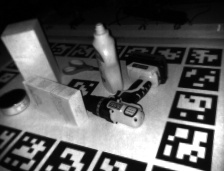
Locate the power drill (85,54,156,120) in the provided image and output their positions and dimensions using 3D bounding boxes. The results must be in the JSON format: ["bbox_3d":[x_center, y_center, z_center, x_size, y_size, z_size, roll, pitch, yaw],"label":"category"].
[{"bbox_3d":[0.021,-0.005,0.584,0.182,0.058,0.187,17,57,32],"label":"power drill"}]

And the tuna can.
[{"bbox_3d":[-0.292,0.035,0.645,0.085,0.034,0.085,-8,42,8],"label":"tuna can"}]

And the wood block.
[{"bbox_3d":[-0.230,-0.087,0.653,0.091,0.208,0.089,-14,41,2],"label":"wood block"}]

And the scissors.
[{"bbox_3d":[-0.103,-0.083,0.742,0.200,0.016,0.088,8,41,24],"label":"scissors"}]

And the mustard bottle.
[{"bbox_3d":[-0.016,-0.087,0.598,0.058,0.193,0.095,-22,42,-6],"label":"mustard bottle"}]

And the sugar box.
[{"bbox_3d":[-0.144,0.027,0.572,0.174,0.093,0.045,17,47,30],"label":"sugar box"}]
